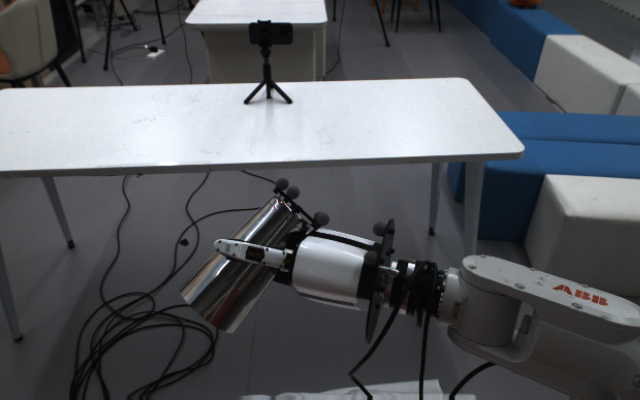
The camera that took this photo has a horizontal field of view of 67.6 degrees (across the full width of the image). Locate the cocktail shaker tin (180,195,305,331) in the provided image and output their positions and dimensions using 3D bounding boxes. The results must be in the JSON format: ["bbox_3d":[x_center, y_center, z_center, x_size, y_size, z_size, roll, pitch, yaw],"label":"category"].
[{"bbox_3d":[-0.091,0.076,0.640,0.170,0.093,0.093,-48,49,-3],"label":"cocktail shaker tin"}]
